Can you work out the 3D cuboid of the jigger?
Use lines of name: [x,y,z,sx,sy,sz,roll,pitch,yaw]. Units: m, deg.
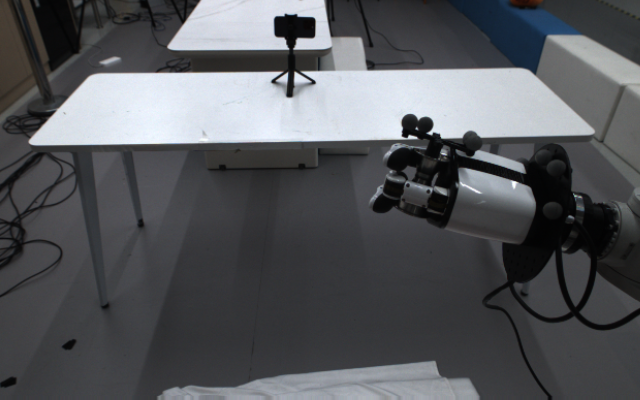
jigger: [0.117,-0.019,0.548,0.043,0.071,0.043,15,17,-5]
